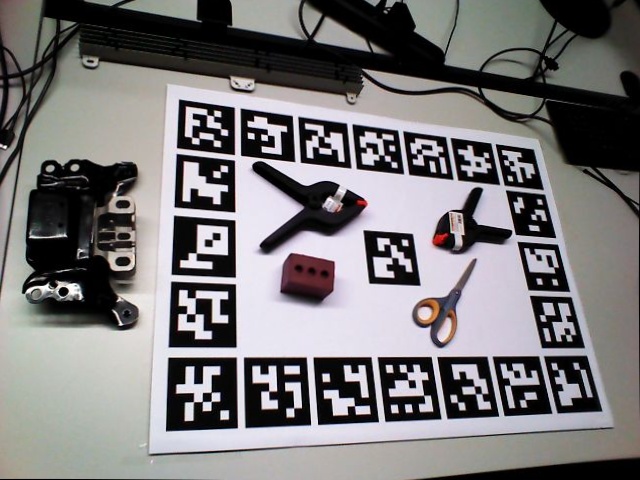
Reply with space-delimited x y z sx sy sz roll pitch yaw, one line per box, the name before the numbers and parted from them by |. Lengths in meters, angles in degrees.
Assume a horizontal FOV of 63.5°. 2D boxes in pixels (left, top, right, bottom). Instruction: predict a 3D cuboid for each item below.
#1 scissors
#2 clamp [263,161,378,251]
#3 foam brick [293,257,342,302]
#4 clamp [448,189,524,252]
scissors | 0.262 0.106 0.934 0.088 0.016 0.201 44 60 -8
clamp | 0.007 -0.058 0.899 0.202 0.037 0.164 0 66 -21
foam brick | -0.001 0.066 0.842 0.078 0.051 0.052 10 68 -11
clamp | 0.314 -0.026 1.002 0.164 0.037 0.121 -25 87 -26
